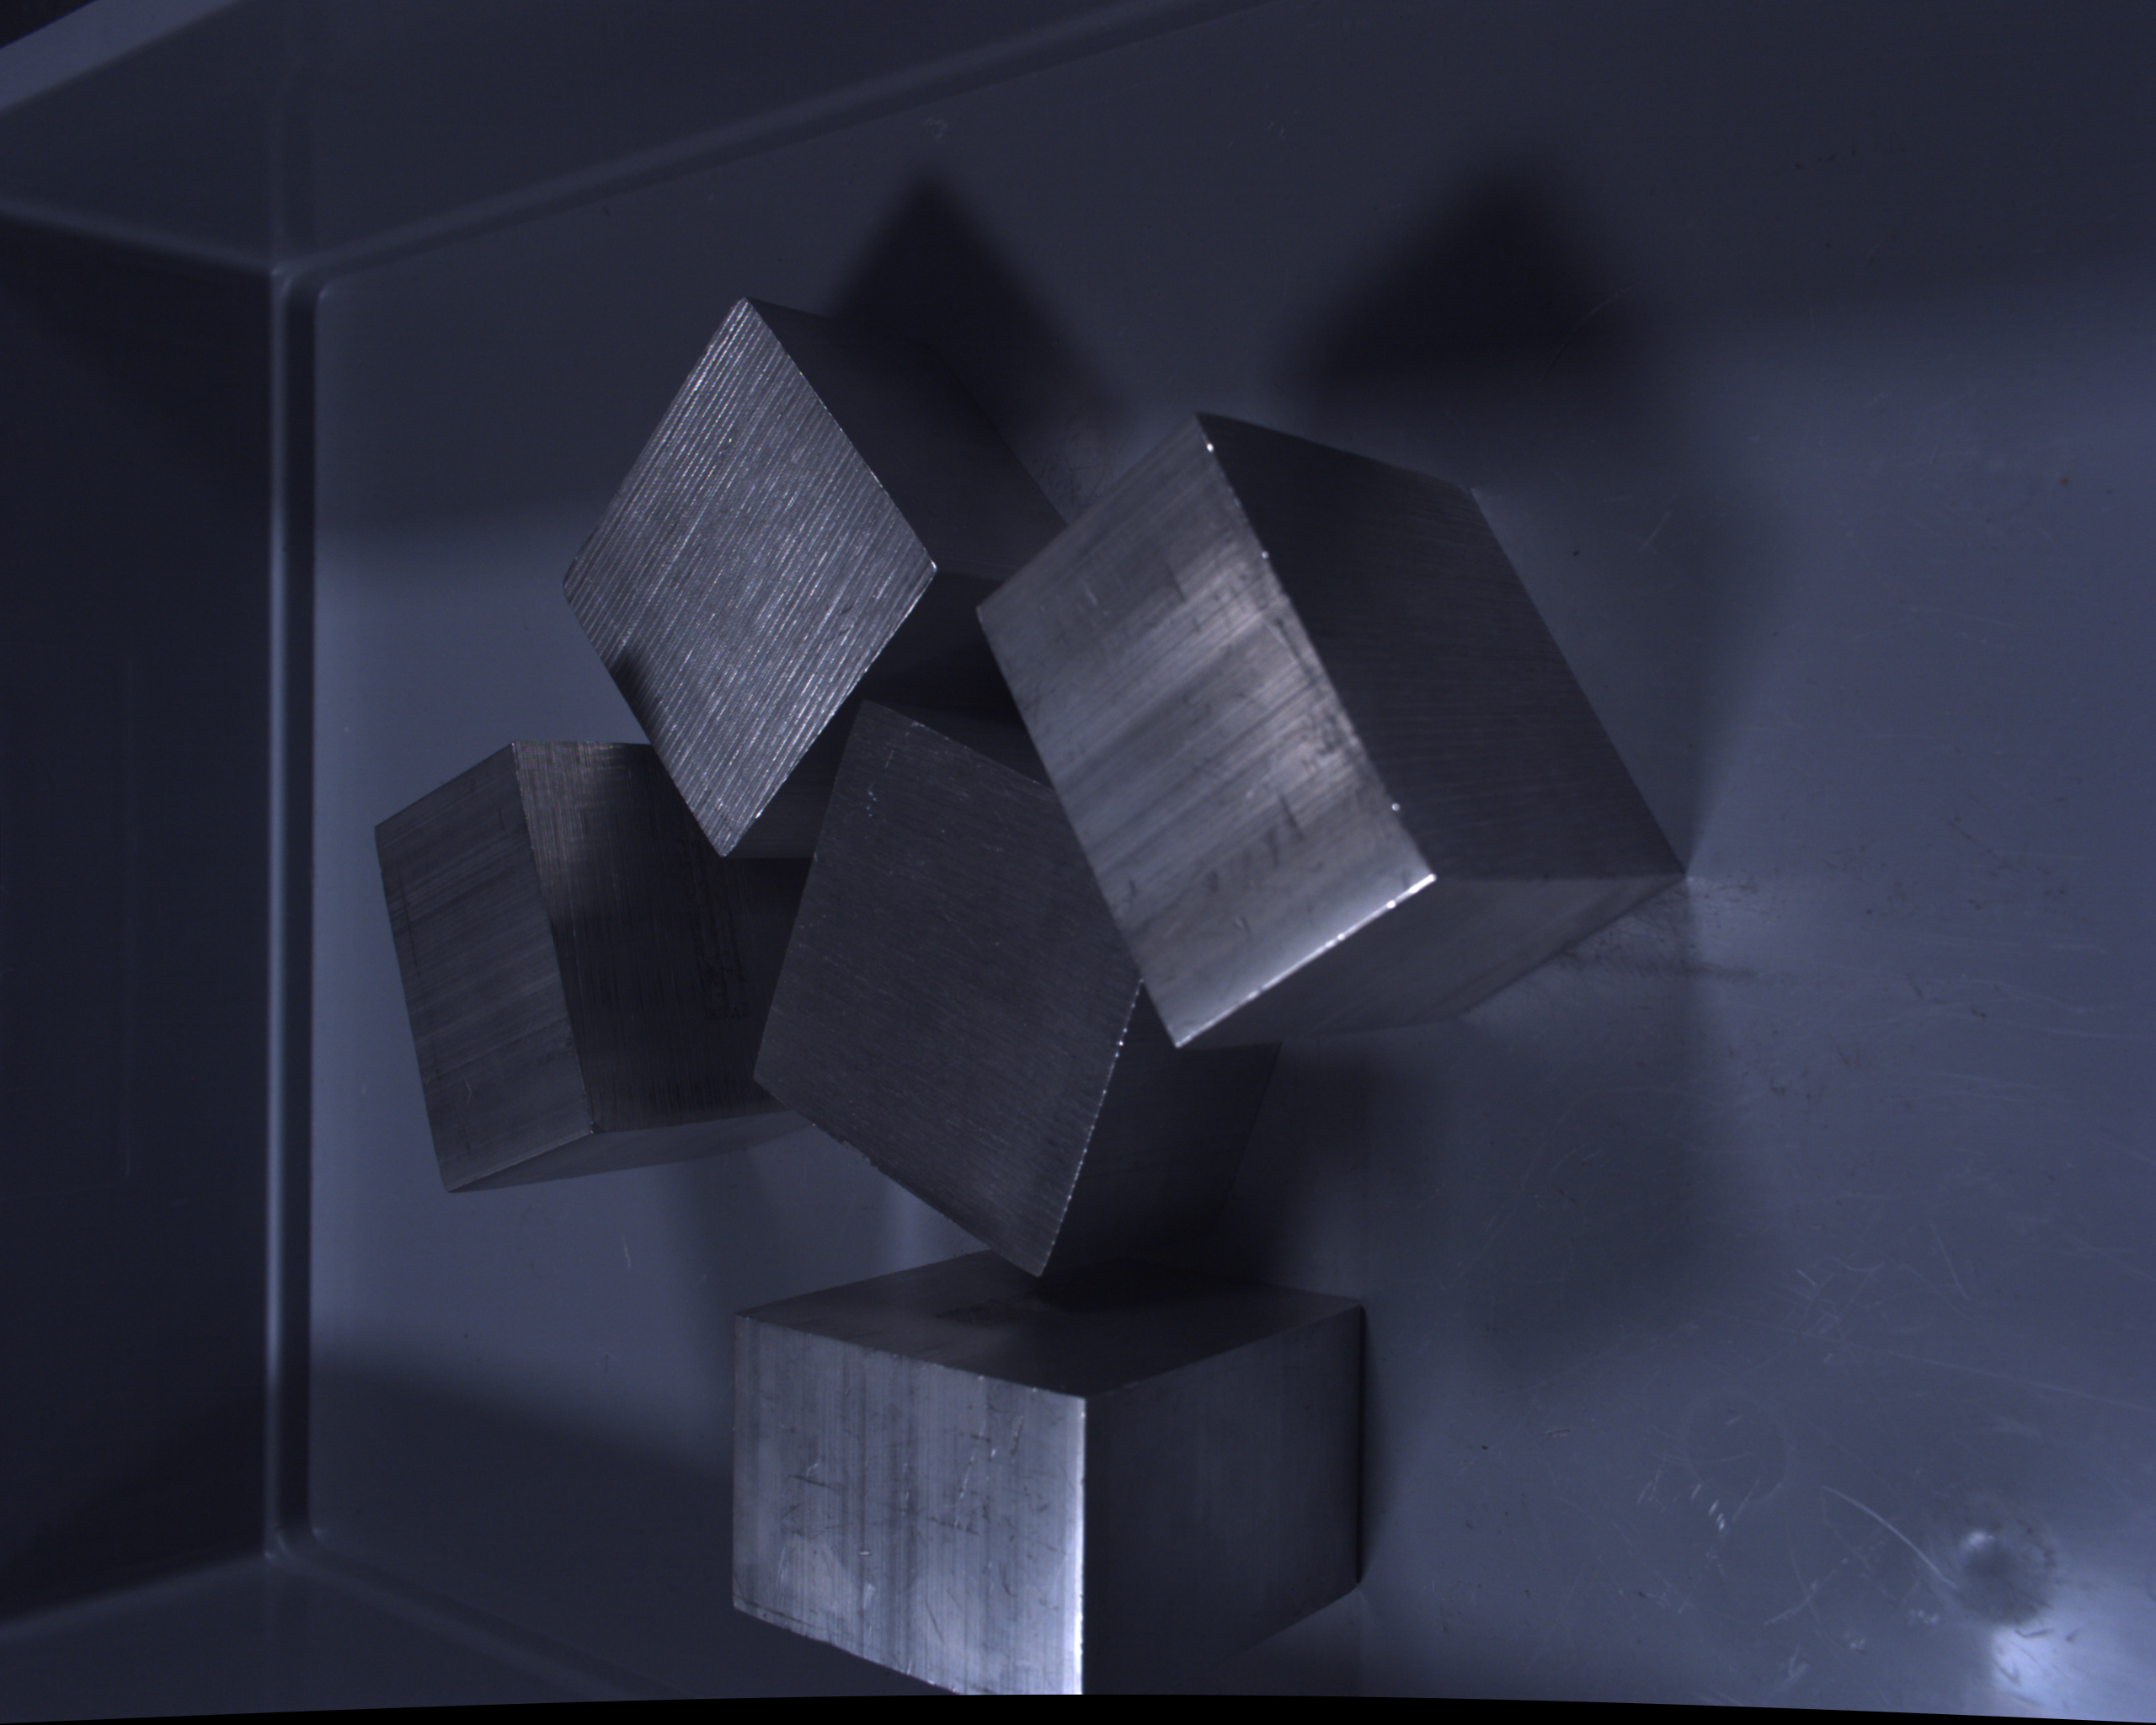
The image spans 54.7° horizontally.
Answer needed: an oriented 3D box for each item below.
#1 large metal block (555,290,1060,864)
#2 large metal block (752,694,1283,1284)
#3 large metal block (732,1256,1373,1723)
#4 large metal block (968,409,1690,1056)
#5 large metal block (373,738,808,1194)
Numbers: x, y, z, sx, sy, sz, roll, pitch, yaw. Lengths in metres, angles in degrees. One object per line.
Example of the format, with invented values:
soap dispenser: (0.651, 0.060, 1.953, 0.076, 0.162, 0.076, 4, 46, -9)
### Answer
large metal block: (-0.052, -0.056, 0.429, 0.080, 0.050, 0.080, -49, 61, 28)
large metal block: (-0.007, 0.021, 0.393, 0.080, 0.050, 0.079, 28, 108, 36)
large metal block: (-0.004, 0.104, 0.371, 0.080, 0.081, 0.050, 1, 91, 39)
large metal block: (0.041, -0.019, 0.333, 0.050, 0.081, 0.080, -38, 67, 33)
large metal block: (-0.093, 0.021, 0.444, 0.050, 0.081, 0.080, -24, 75, 37)
